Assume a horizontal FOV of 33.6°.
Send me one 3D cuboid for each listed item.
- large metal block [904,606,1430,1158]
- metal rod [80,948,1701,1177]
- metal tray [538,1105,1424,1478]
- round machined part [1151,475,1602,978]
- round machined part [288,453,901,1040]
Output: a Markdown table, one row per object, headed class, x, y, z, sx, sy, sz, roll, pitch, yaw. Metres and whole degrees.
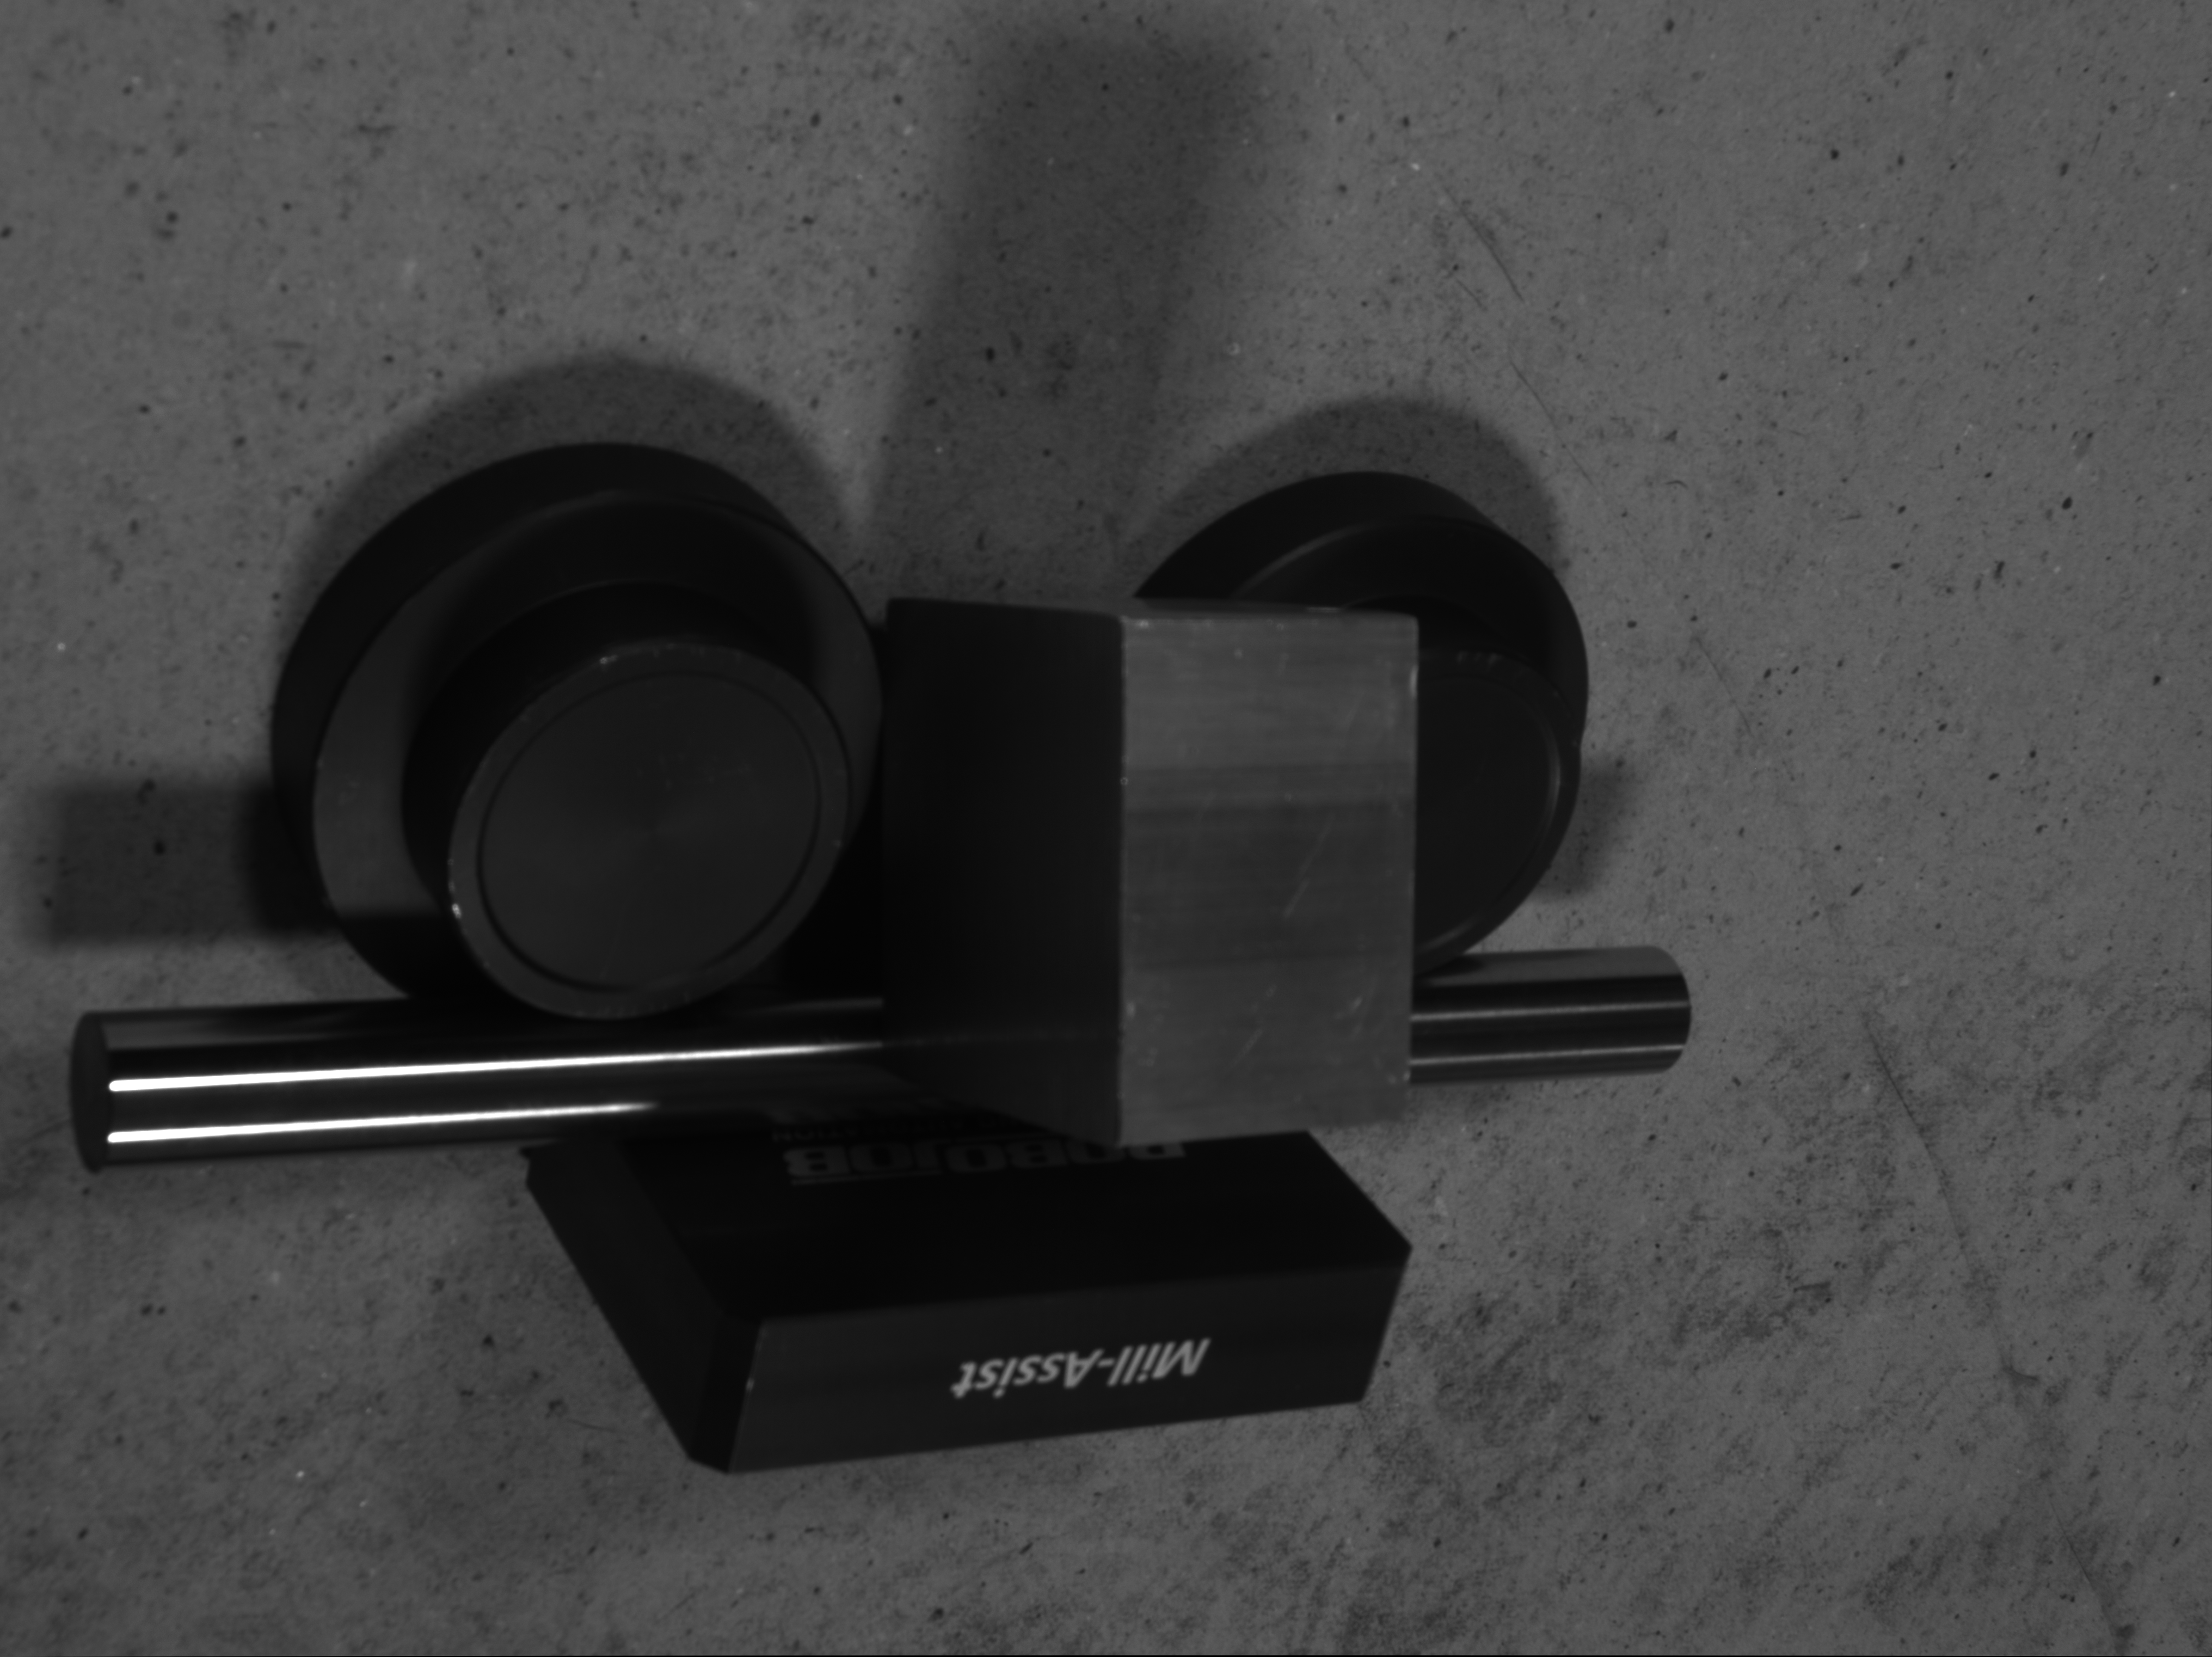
| class | x | y | z | sx | sy | sz | roll | pitch | yaw |
| --- | --- | --- | --- | --- | --- | --- | --- | --- | --- |
| large metal block | 0.008 | 0.005 | 0.588 | 0.050 | 0.080 | 0.080 | -2 | 96 | -30 |
| metal rod | -0.023 | 0.038 | 0.634 | 0.301 | 0.025 | 0.025 | -1 | 119 | -30 |
| metal tray | -0.022 | 0.068 | 0.637 | 0.130 | 0.090 | 0.030 | -1 | 119 | -30 |
| round machined part | 0.049 | -0.011 | 0.660 | 0.098 | 0.042 | 0.098 | -15 | 125 | -22 |
| round machined part | -0.078 | -0.007 | 0.588 | 0.098 | 0.042 | 0.098 | -15 | 125 | -22 |
